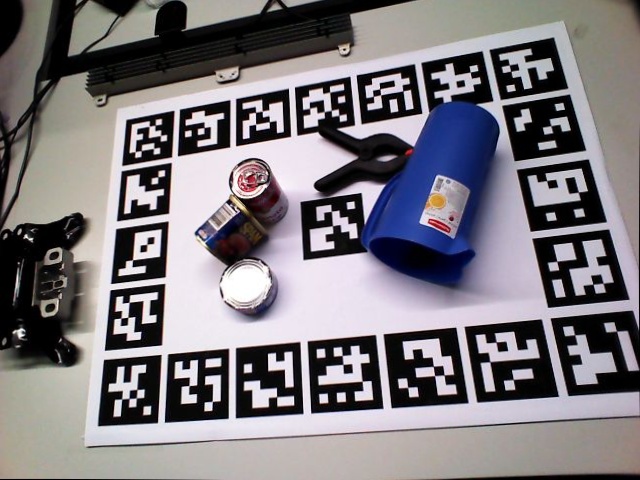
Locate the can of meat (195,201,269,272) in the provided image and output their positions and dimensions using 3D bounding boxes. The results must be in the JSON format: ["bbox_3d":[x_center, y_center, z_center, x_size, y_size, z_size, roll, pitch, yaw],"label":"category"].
[{"bbox_3d":[-0.139,-0.002,0.802,0.084,0.102,0.058,-42,68,0],"label":"can of meat"}]

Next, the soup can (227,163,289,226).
[{"bbox_3d":[-0.096,-0.070,0.822,0.068,0.102,0.067,-5,71,14],"label":"soup can"}]

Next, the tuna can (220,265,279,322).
[{"bbox_3d":[-0.109,0.084,0.804,0.086,0.034,0.085,-4,71,12],"label":"tuna can"}]

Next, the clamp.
[{"bbox_3d":[0.063,-0.130,0.850,0.166,0.036,0.121,-4,65,8],"label":"clamp"}]

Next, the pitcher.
[{"bbox_3d":[0.166,-0.062,0.733,0.190,0.133,0.241,5,63,39],"label":"pitcher"}]
